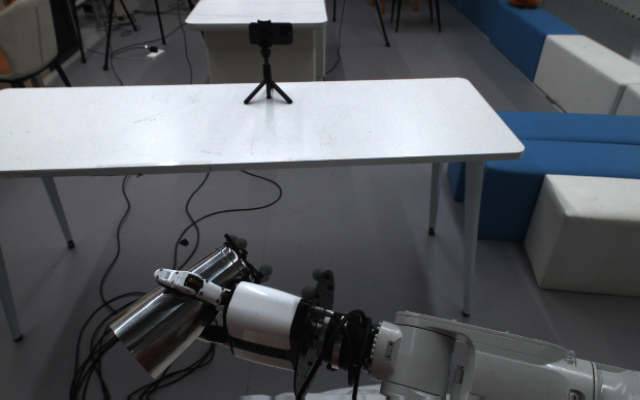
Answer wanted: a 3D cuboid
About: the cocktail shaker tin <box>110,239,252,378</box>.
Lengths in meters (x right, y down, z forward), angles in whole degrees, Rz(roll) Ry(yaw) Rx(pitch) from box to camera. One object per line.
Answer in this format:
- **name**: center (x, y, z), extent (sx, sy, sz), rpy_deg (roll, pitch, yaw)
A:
- **cocktail shaker tin**: center (-0.173, 0.133, 0.630), extent (0.170, 0.093, 0.093), rpy_deg (-38, 49, -24)
